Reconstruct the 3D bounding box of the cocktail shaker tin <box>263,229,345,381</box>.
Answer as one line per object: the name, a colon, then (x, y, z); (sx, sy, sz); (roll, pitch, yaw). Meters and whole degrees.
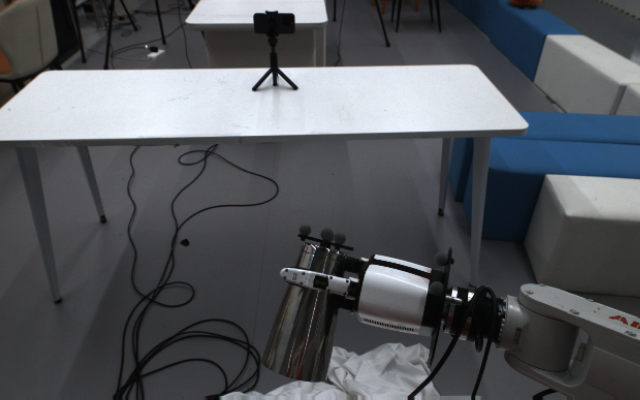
cocktail shaker tin: (-0.014, 0.148, 0.671); (0.093, 0.170, 0.093); (15, -5, 1)
